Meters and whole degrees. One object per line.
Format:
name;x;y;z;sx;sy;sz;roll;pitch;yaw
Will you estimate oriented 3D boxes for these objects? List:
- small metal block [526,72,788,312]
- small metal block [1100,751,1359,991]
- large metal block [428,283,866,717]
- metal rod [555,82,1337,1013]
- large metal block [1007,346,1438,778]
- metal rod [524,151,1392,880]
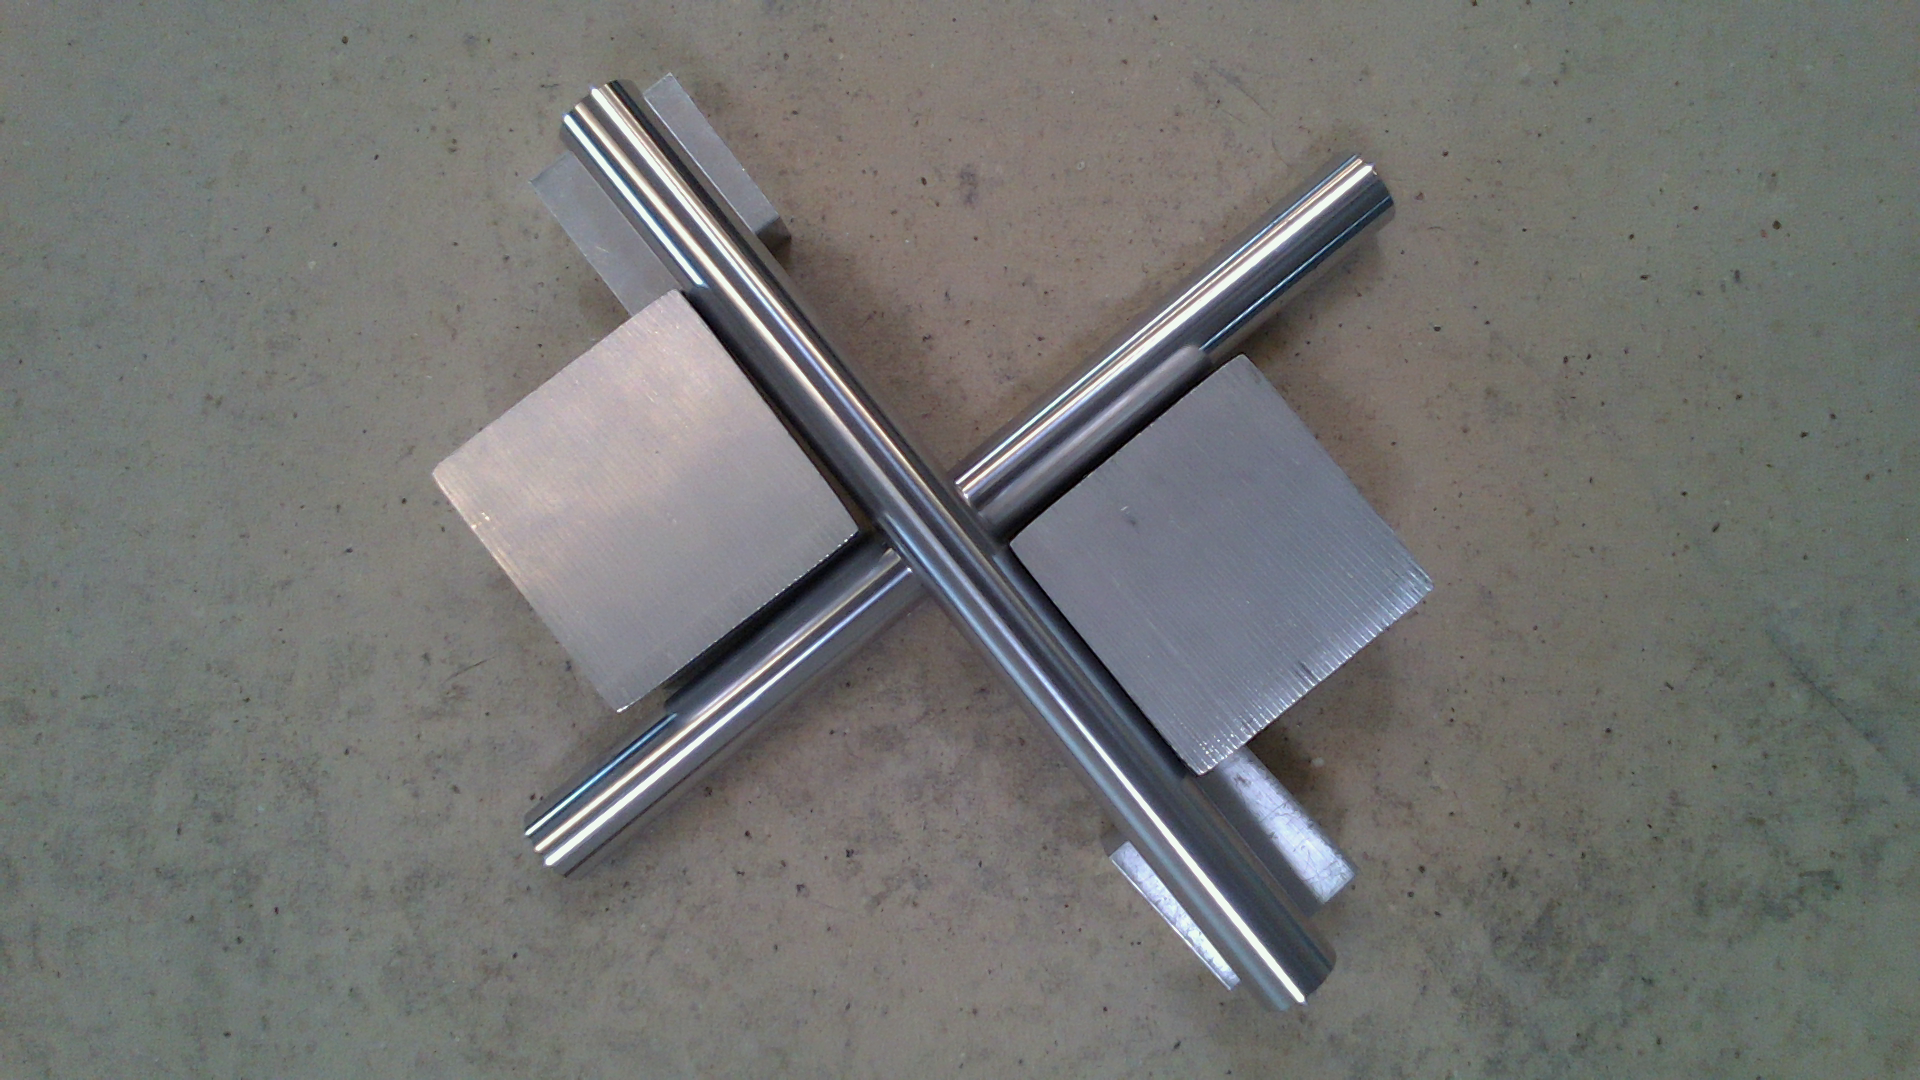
small metal block;-0.086;-0.095;0.396;0.050;0.025;0.050;-37;90;0
small metal block;0.076;0.091;0.397;0.050;0.025;0.050;-43;90;0
large metal block;-0.081;-0.010;0.381;0.080;0.050;0.080;-37;90;0
metal rod;-0.003;0.002;0.370;0.025;0.025;0.300;-39;90;0
large metal block;0.069;0.006;0.383;0.080;0.050;0.080;-39;90;0
metal rod;-0.001;-0.007;0.396;0.300;0.025;0.025;-39;90;0
